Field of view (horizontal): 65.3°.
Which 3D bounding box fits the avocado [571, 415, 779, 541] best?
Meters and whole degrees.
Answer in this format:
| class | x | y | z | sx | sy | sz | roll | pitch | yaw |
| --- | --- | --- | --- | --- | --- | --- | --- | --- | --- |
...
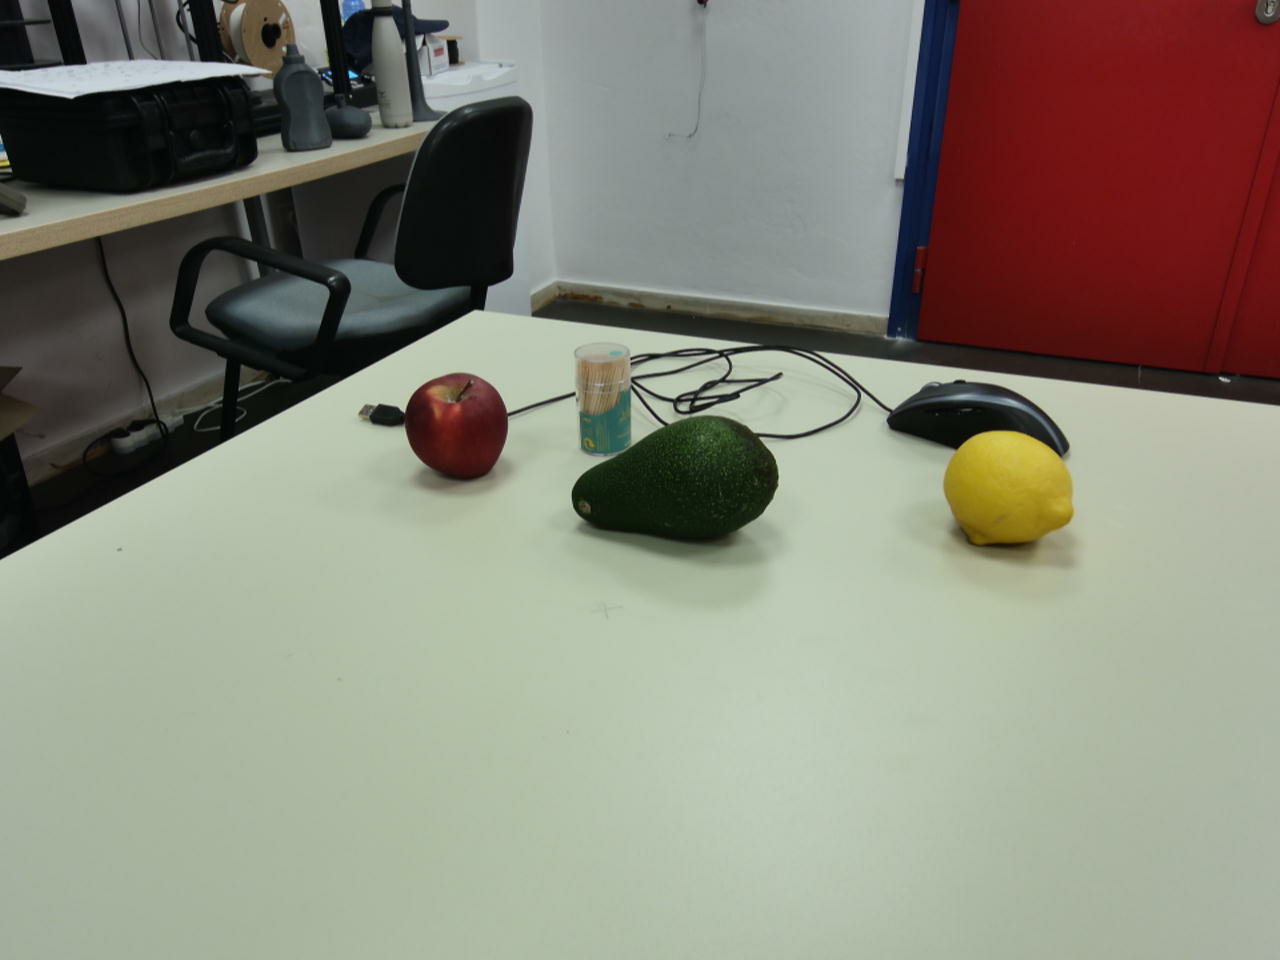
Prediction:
| class | x | y | z | sx | sy | sz | roll | pitch | yaw |
| --- | --- | --- | --- | --- | --- | --- | --- | --- | --- |
| avocado | 0.024 | -0.005 | 0.603 | 0.123 | 0.076 | 0.074 | 14 | 29 | 27 |
